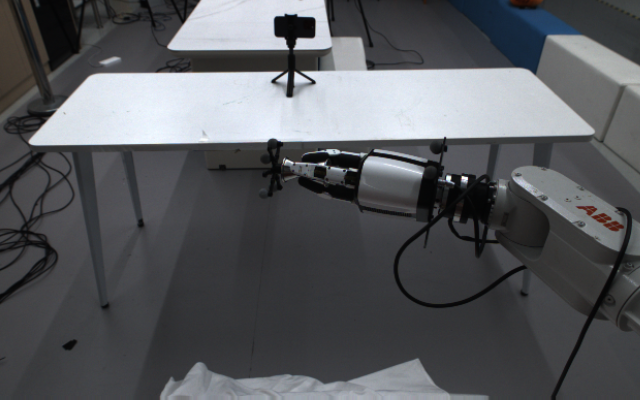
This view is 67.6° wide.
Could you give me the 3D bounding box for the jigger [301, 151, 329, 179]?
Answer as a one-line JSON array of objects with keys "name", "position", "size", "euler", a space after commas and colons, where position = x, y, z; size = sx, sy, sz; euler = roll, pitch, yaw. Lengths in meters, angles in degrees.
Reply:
[{"name": "jigger", "position": [-0.015, -0.047, 0.729], "size": [0.071, 0.043, 0.043], "euler": [5, 34, 15]}]
